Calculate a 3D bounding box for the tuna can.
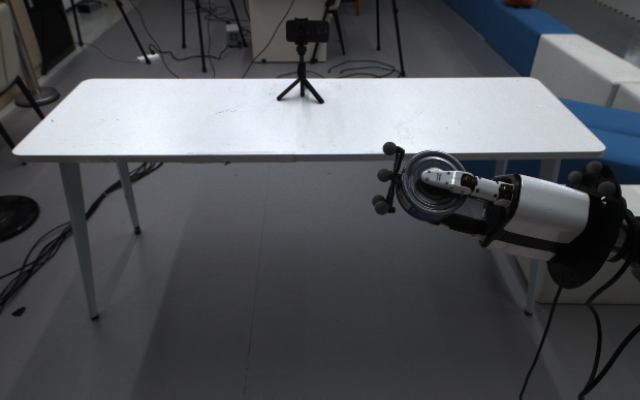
[{"bbox_3d":[0.142,-0.020,0.606,0.085,0.034,0.085,2,73,-6],"label":"tuna can"}]
